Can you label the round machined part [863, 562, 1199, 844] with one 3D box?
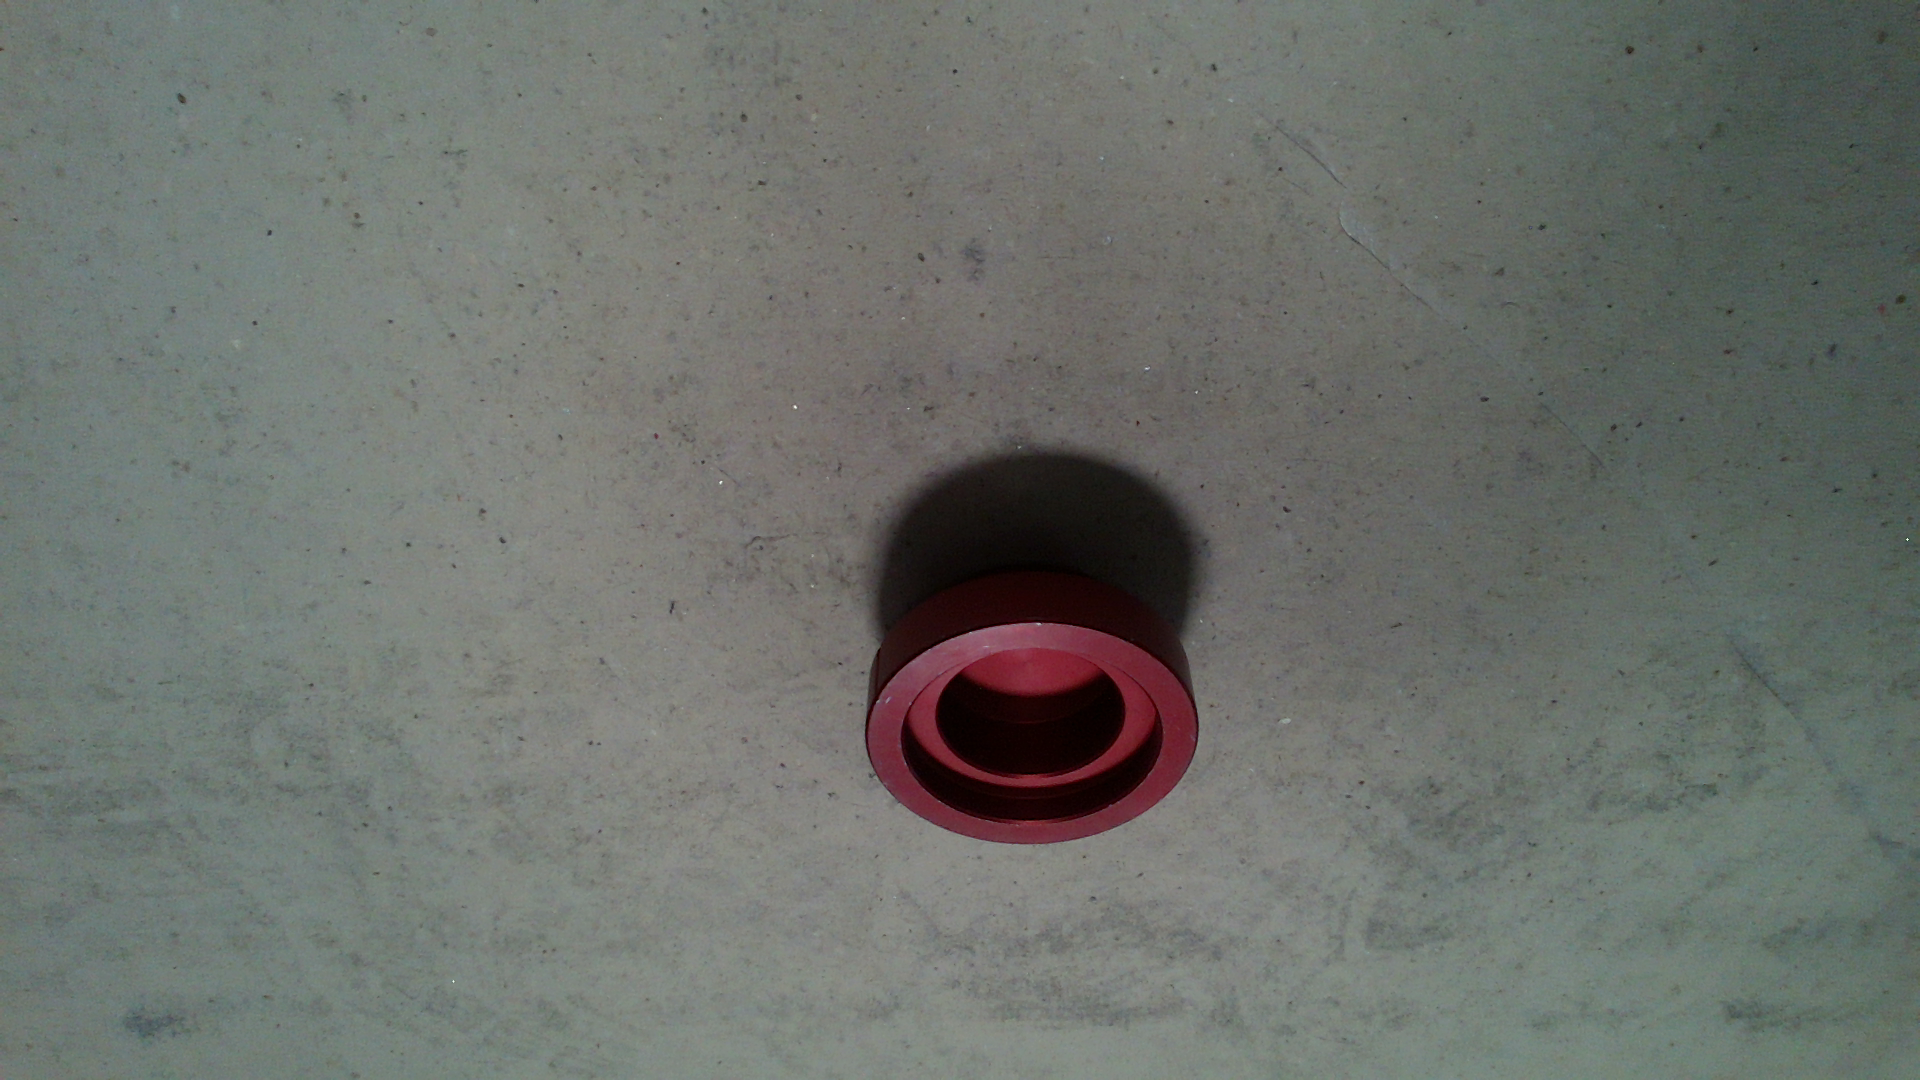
[{"bbox_3d":[0.021,0.045,0.418,0.098,0.042,0.098,0,130,0],"label":"round machined part"}]
